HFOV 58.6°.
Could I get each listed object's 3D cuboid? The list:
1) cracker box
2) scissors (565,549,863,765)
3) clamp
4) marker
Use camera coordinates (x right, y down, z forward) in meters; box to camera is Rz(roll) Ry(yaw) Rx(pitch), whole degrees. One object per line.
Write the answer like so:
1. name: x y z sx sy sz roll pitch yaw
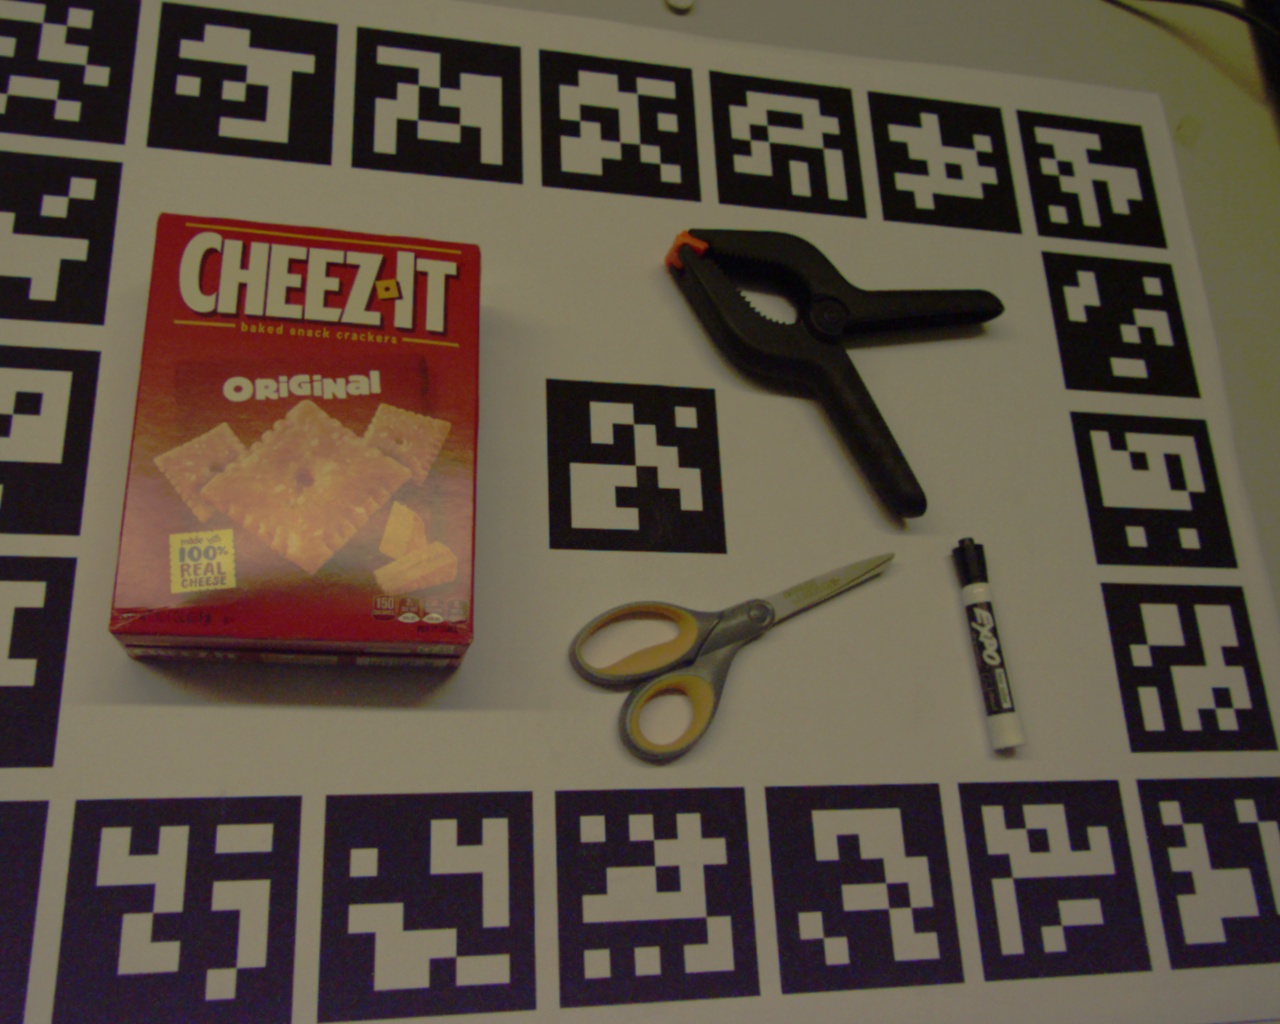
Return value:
1. cracker box: -0.172 -0.028 0.607 0.163 0.072 0.214 3 70 -12
2. scissors: 0.051 0.064 0.654 0.201 0.016 0.088 -27 78 -23
3. clamp: 0.090 -0.111 0.730 0.202 0.037 0.165 30 66 -2
4. marker: 0.189 0.073 0.683 0.019 0.020 0.121 -2 71 -14
